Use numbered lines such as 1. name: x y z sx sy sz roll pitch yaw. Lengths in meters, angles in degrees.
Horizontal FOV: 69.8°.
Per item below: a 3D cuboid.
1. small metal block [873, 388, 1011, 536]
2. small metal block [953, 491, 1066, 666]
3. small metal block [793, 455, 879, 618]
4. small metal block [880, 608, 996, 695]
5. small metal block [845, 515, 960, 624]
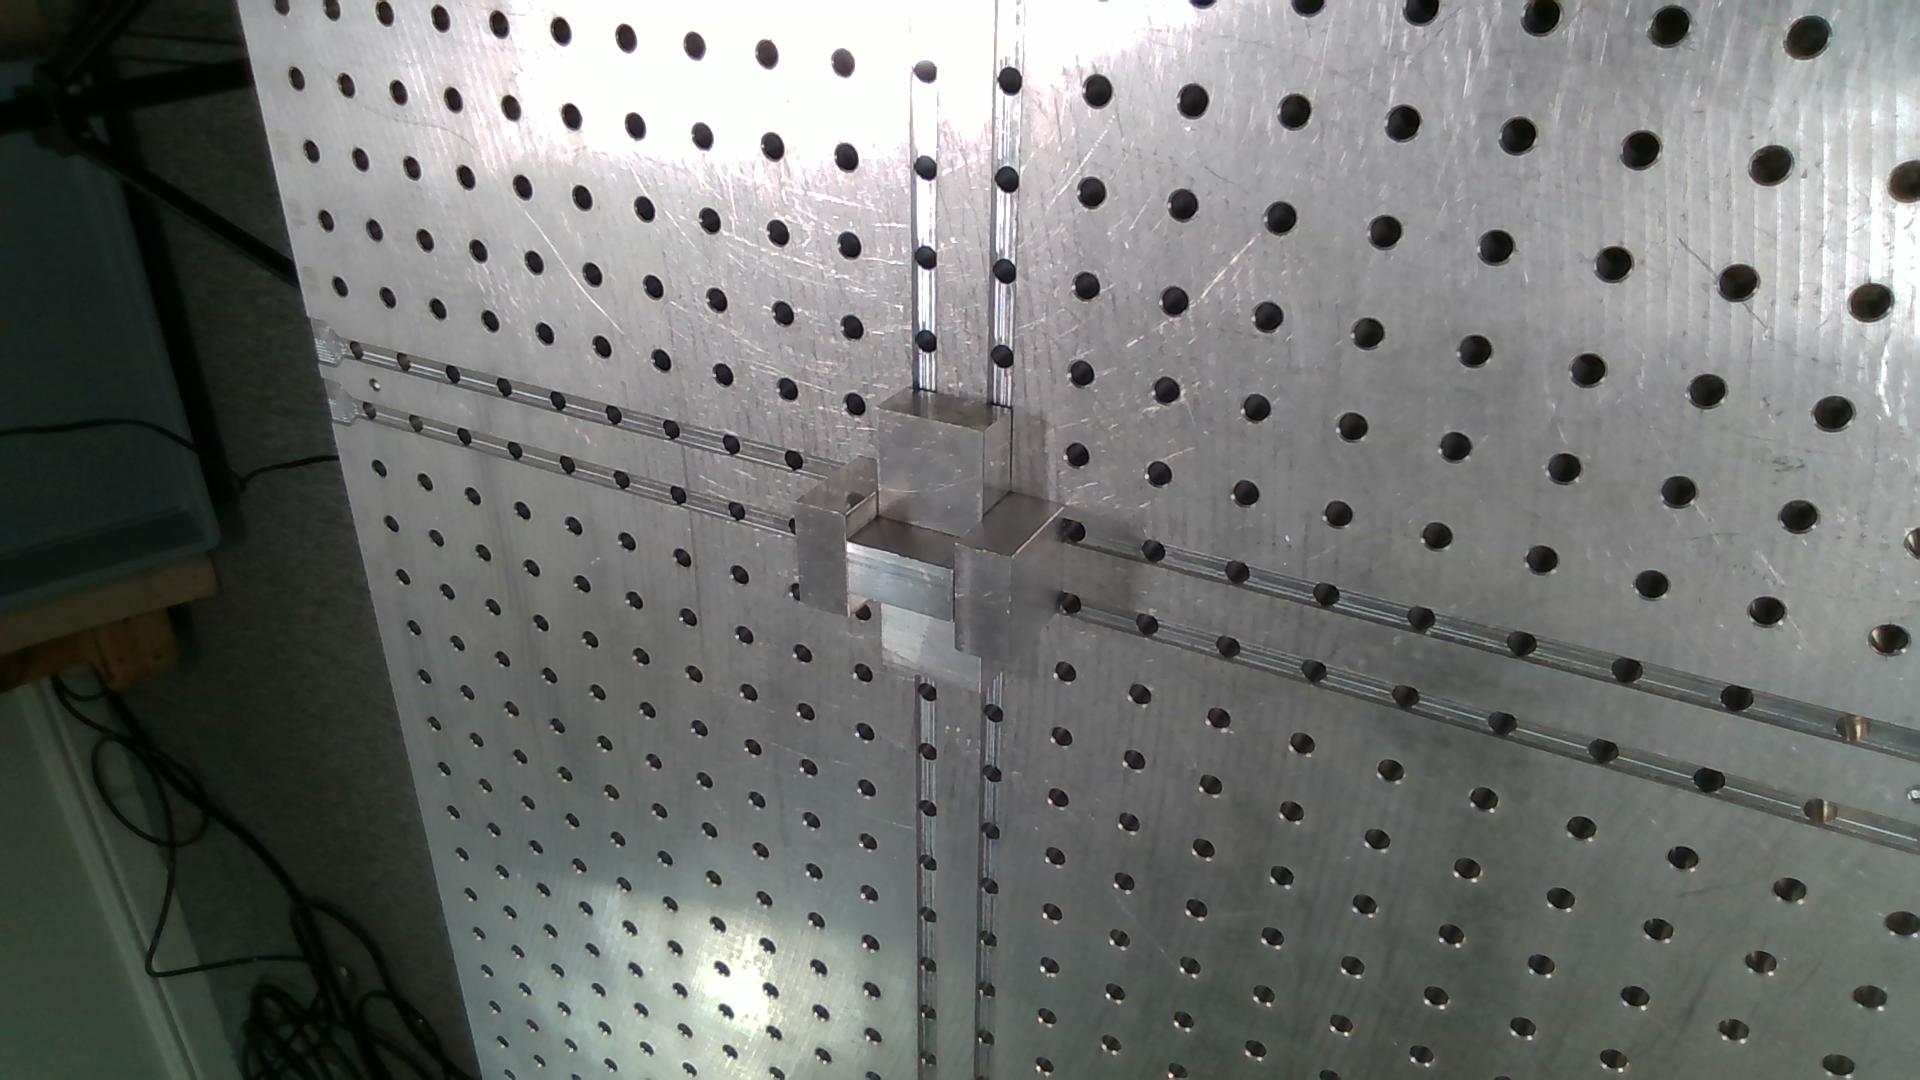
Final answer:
1. small metal block: -0.007 -0.032 0.569 0.050 0.025 0.050 15 122 24
2. small metal block: 0.020 0.015 0.562 0.025 0.050 0.050 15 122 24
3. small metal block: -0.046 -0.002 0.594 0.025 0.050 0.050 15 122 24
4. small metal block: -0.007 0.034 0.606 0.050 0.025 0.050 15 122 24
5. small metal block: -0.013 0.006 0.578 0.050 0.050 0.025 15 122 24
